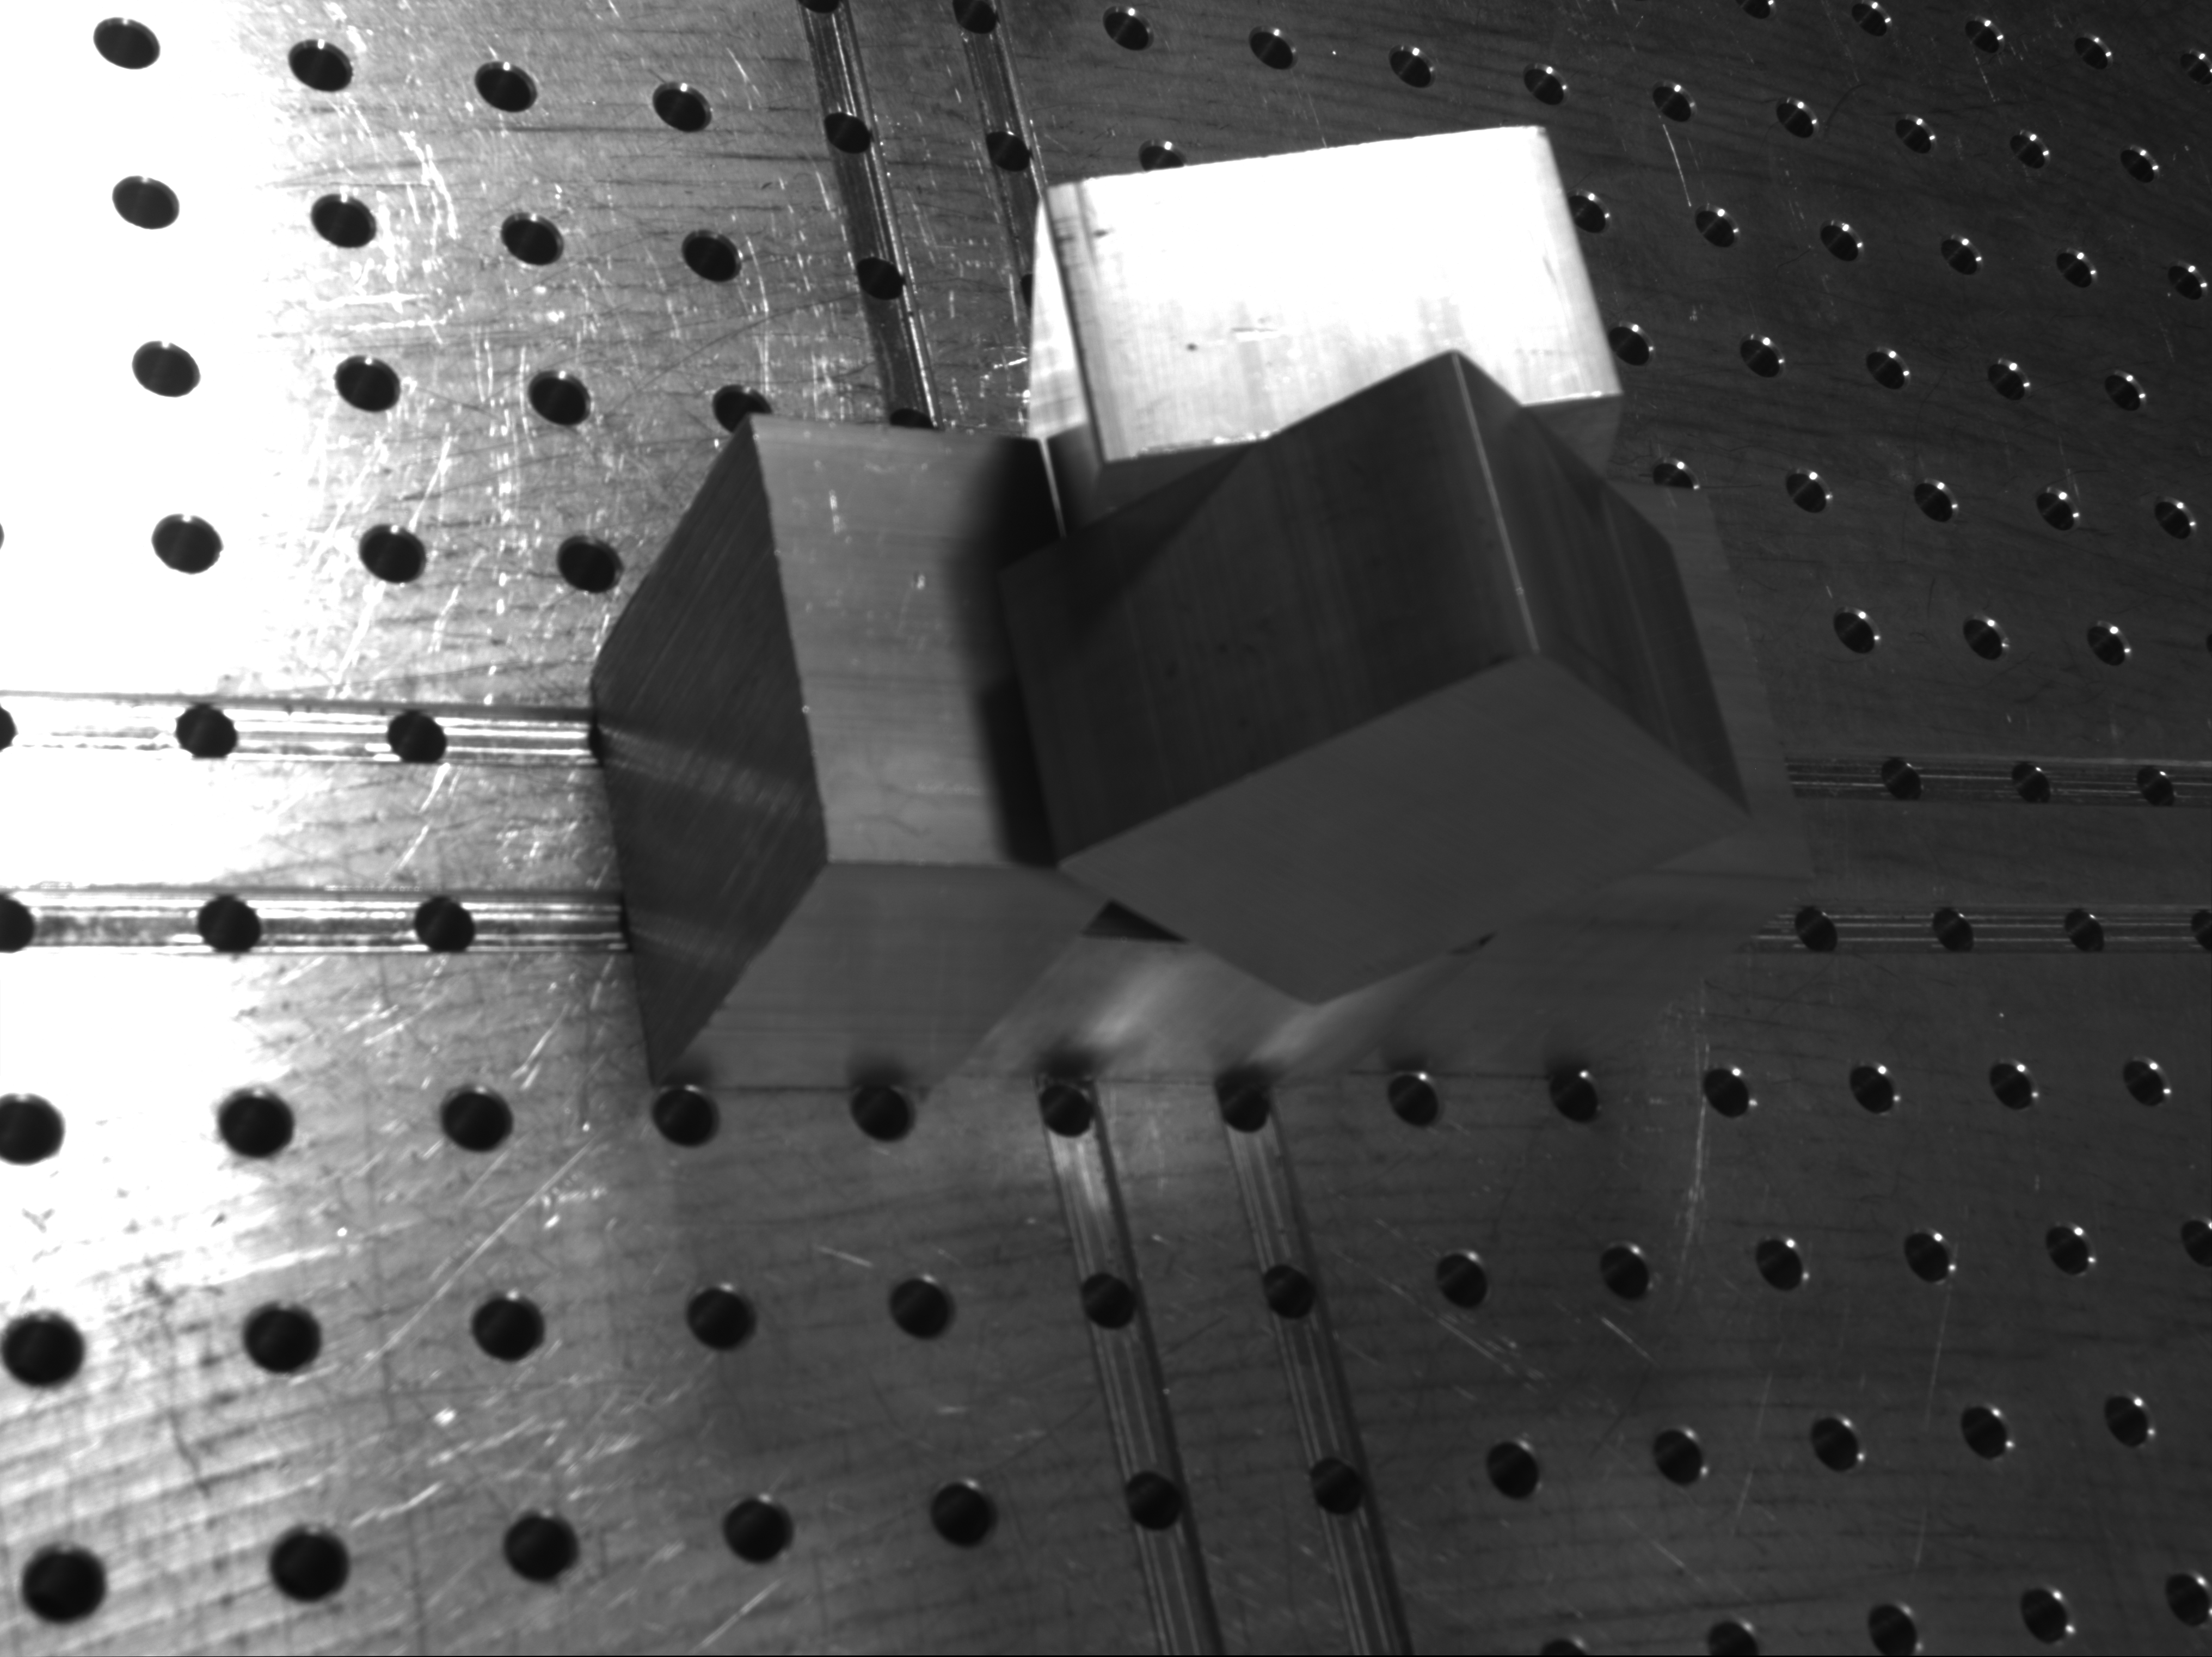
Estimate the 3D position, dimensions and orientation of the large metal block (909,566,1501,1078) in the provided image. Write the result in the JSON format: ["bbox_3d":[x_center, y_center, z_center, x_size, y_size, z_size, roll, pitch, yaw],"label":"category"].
[{"bbox_3d":[0.013,-0.004,0.634,0.080,0.050,0.080,3,60,-27],"label":"large metal block"}]

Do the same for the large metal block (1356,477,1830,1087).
[{"bbox_3d":[0.076,-0.008,0.653,0.050,0.080,0.080,4,60,-26],"label":"large metal block"}]

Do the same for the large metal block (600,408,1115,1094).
[{"bbox_3d":[-0.040,-0.010,0.592,0.050,0.080,0.080,2,61,-27],"label":"large metal block"}]

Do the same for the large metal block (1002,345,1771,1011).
[{"bbox_3d":[0.043,-0.020,0.557,0.080,0.080,0.050,30,42,-53],"label":"large metal block"}]

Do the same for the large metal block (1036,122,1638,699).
[{"bbox_3d":[0.033,-0.062,0.581,0.080,0.080,0.050,-8,63,-7],"label":"large metal block"}]
